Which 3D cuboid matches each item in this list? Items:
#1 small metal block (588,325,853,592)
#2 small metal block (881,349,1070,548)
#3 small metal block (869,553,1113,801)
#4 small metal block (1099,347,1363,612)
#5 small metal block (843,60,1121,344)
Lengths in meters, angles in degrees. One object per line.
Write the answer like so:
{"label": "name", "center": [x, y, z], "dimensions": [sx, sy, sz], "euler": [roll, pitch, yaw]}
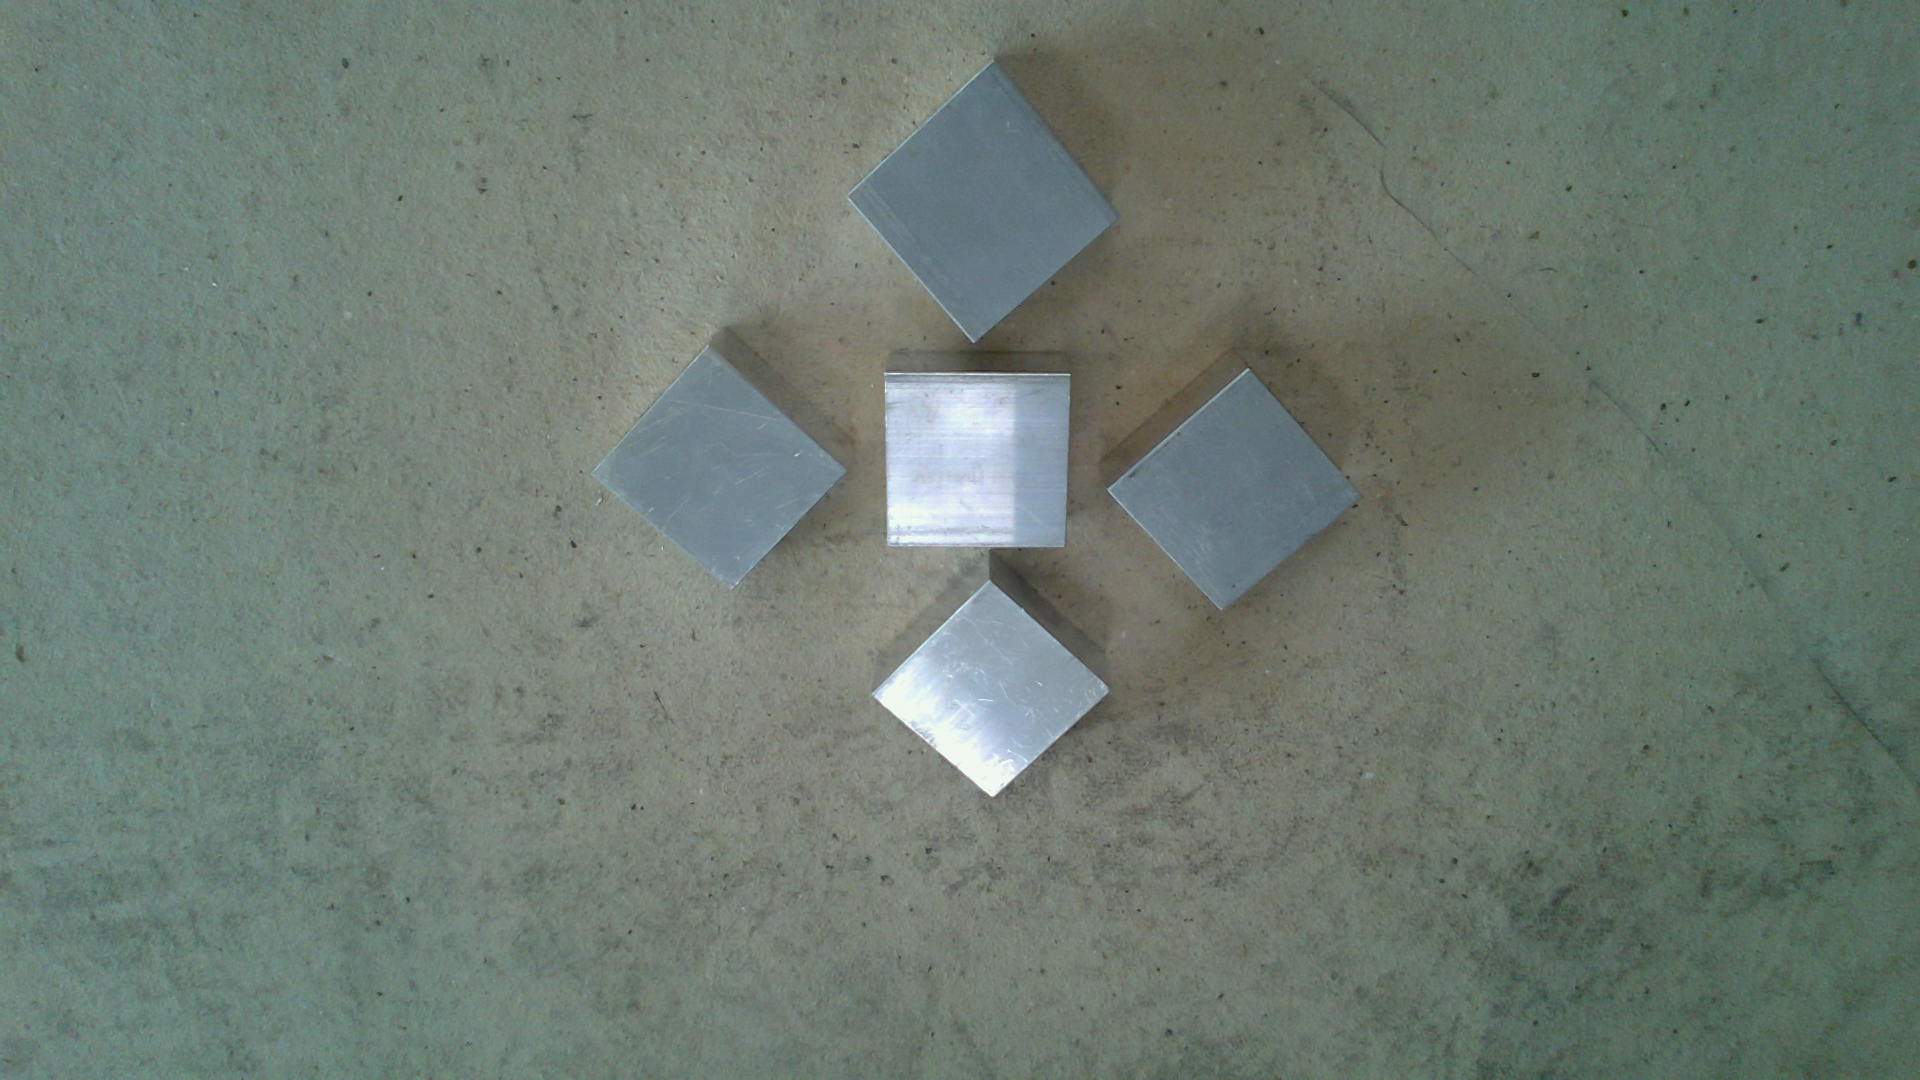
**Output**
{"label": "small metal block", "center": [-0.066, -0.023, 0.386], "dimensions": [0.050, 0.025, 0.050], "euler": [42, 104, -14]}
{"label": "small metal block", "center": [0.004, -0.026, 0.384], "dimensions": [0.050, 0.025, 0.050], "euler": [0, 110, 0]}
{"label": "small metal block", "center": [0.009, 0.040, 0.409], "dimensions": [0.050, 0.025, 0.050], "euler": [42, 104, -14]}
{"label": "small metal block", "center": [0.075, -0.017, 0.389], "dimensions": [0.050, 0.025, 0.050], "euler": [-41, 105, 14]}
{"label": "small metal block", "center": [0.006, -0.089, 0.361], "dimensions": [0.050, 0.025, 0.050], "euler": [-39, 105, 12]}
